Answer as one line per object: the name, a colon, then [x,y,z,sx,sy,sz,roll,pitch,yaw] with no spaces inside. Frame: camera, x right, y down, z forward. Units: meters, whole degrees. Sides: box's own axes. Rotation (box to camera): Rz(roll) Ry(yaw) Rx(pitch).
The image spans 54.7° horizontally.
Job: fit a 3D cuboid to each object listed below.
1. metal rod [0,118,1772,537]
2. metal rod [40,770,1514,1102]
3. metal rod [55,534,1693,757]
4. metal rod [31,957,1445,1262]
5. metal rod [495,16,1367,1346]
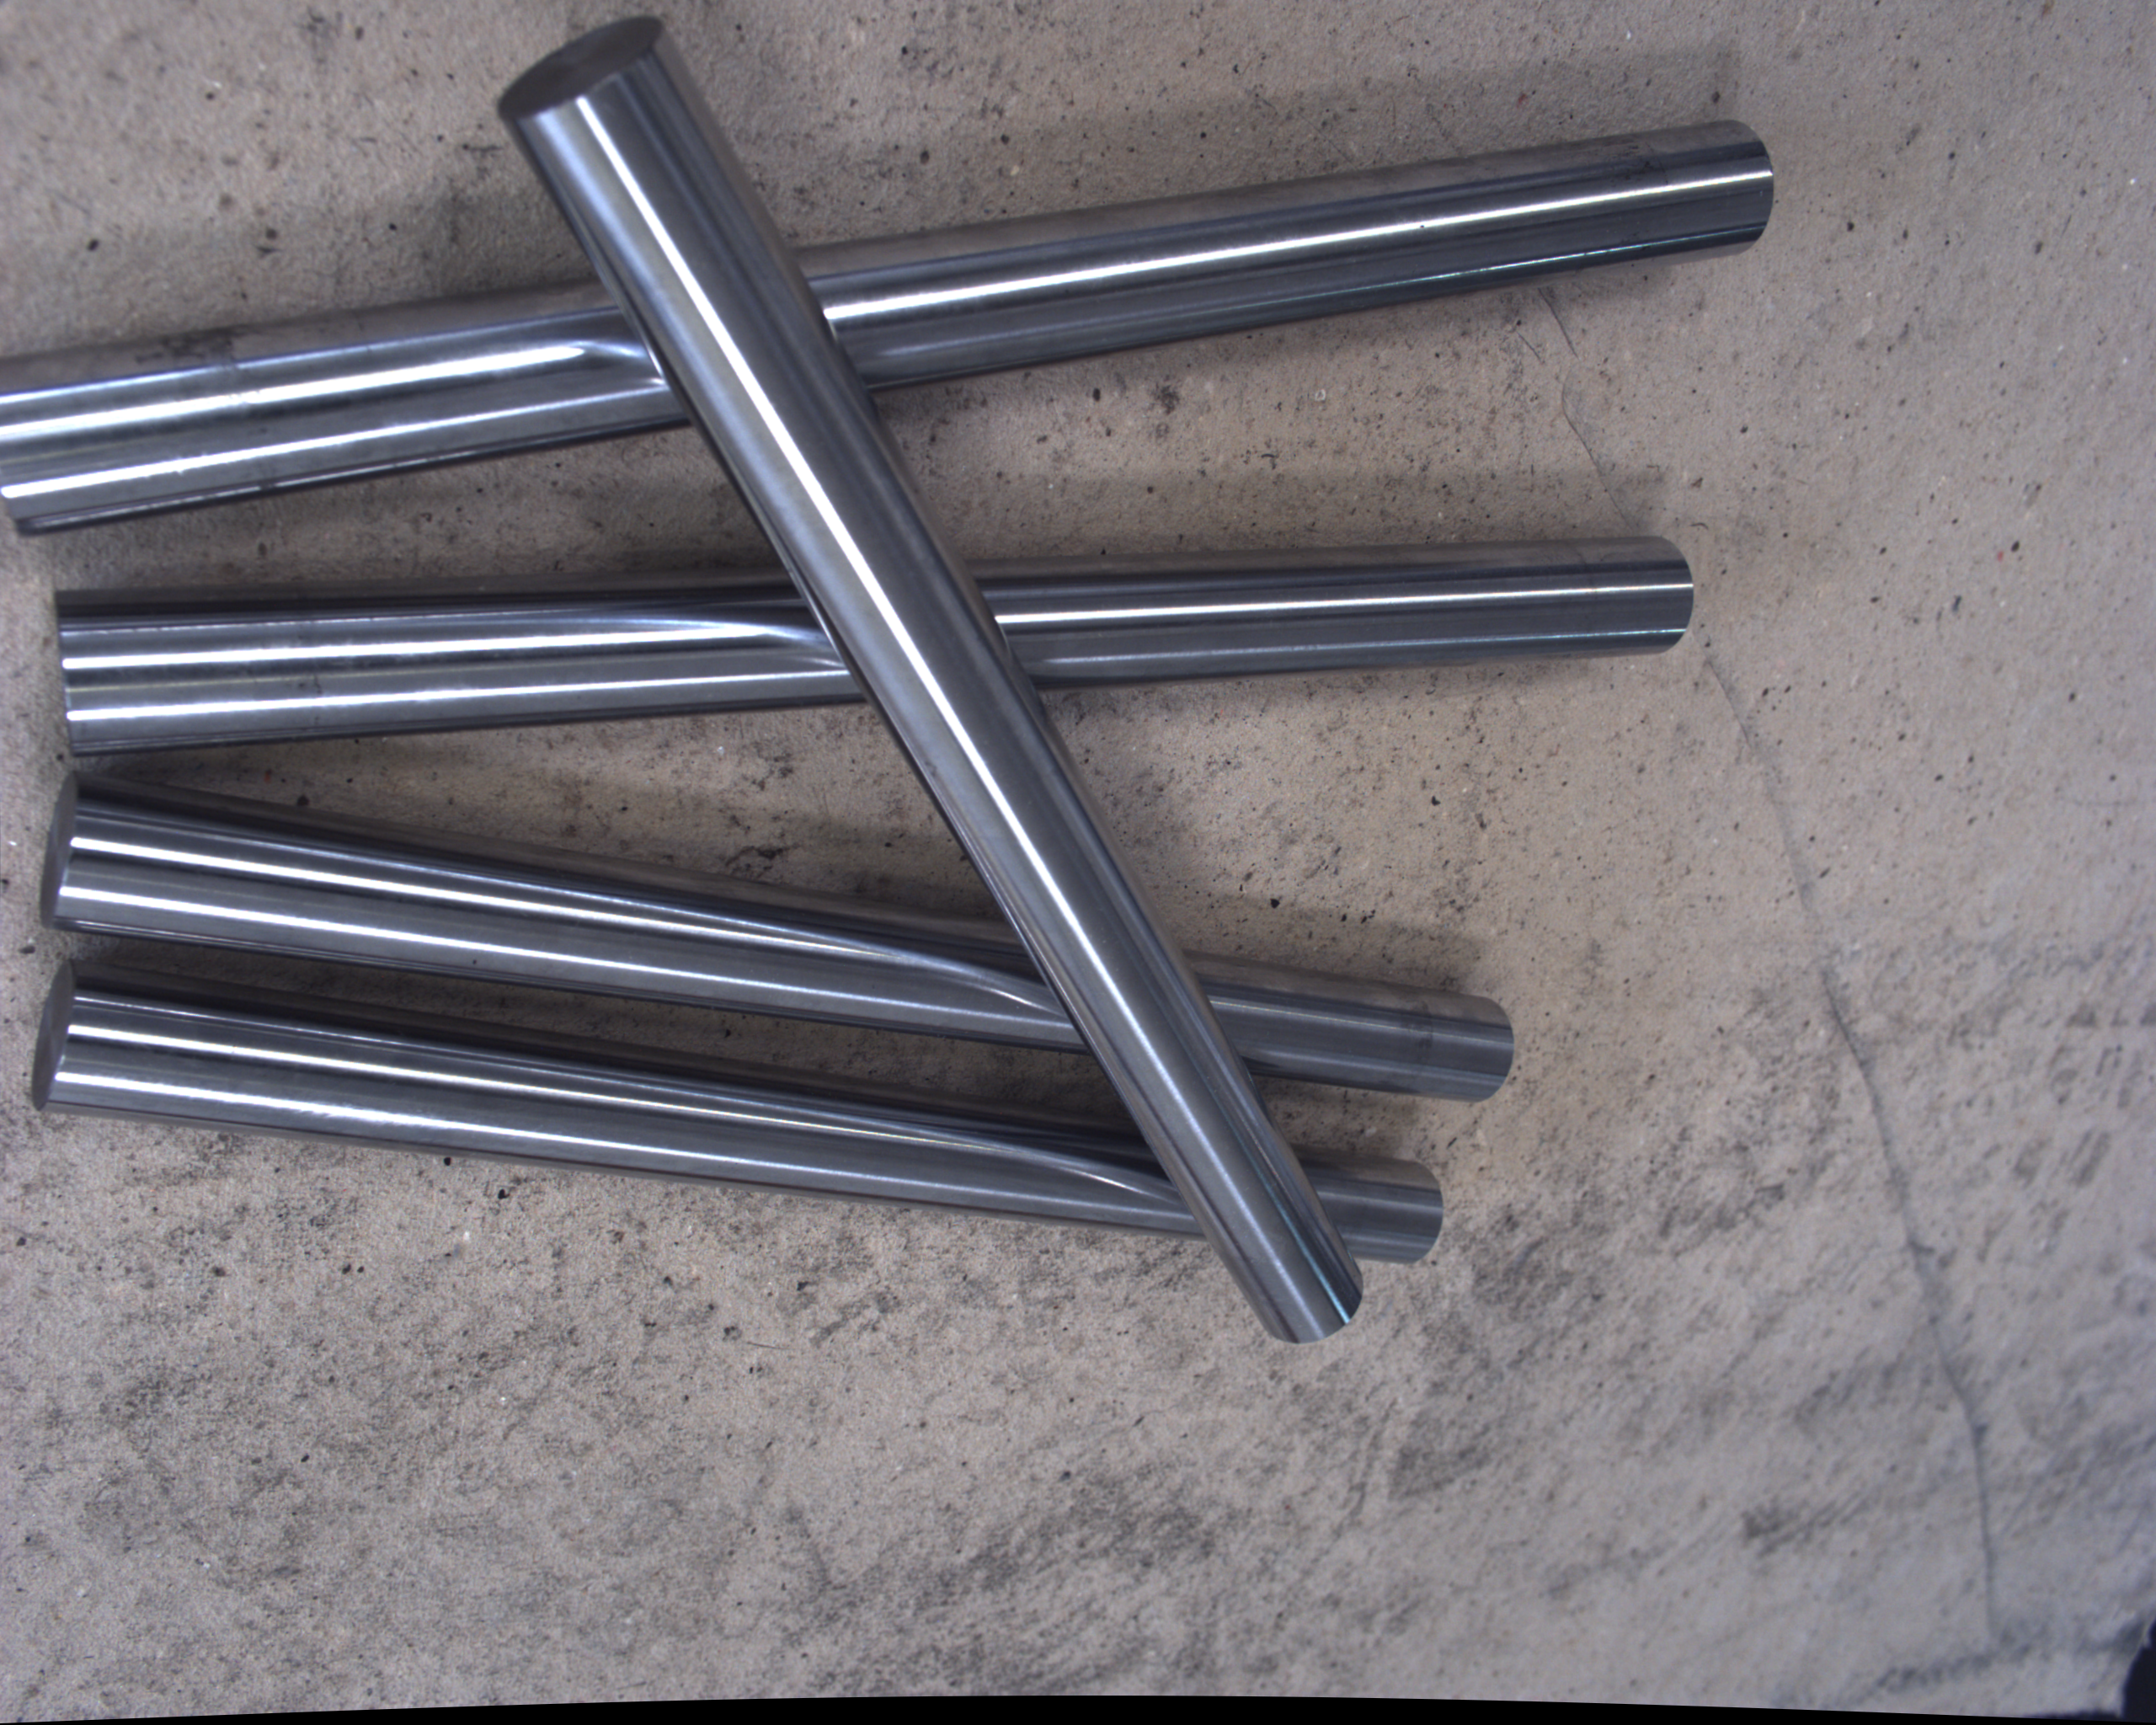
metal rod: [-0.014,-0.093,0.344,0.302,0.025,0.025,-15,125,-21]
metal rod: [-0.032,0.021,0.403,0.302,0.025,0.025,10,113,-33]
metal rod: [-0.015,-0.042,0.374,0.303,0.025,0.025,-6,121,-26]
metal rod: [-0.043,0.056,0.419,0.302,0.025,0.025,13,112,-34]
metal rod: [-0.007,-0.004,0.369,0.025,0.025,0.299,-35,129,-5]
